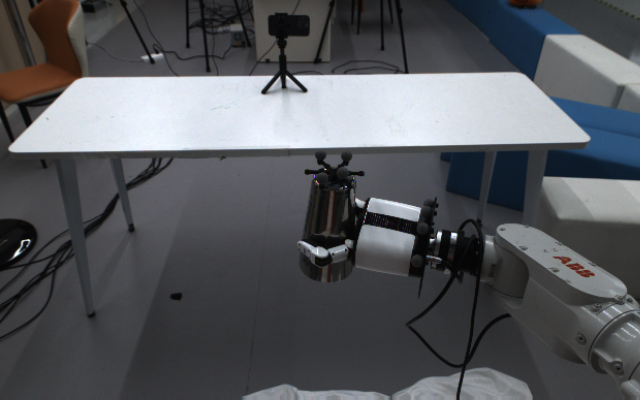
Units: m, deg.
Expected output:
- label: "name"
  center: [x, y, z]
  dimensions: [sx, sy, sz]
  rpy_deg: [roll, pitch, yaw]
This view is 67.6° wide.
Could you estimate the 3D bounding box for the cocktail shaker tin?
- label: "cocktail shaker tin"
  center: [0.017, 0.036, 0.765]
  dimensions: [0.093, 0.170, 0.093]
  rpy_deg: [3, 34, -2]
